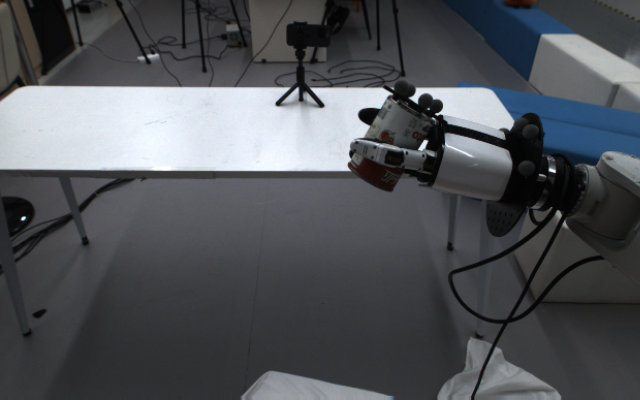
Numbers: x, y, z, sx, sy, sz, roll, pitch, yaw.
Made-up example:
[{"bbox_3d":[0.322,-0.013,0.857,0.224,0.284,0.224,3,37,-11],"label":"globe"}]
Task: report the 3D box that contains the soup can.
[{"bbox_3d":[0.089,-0.071,0.605,0.067,0.101,0.067,27,18,-9],"label":"soup can"}]
